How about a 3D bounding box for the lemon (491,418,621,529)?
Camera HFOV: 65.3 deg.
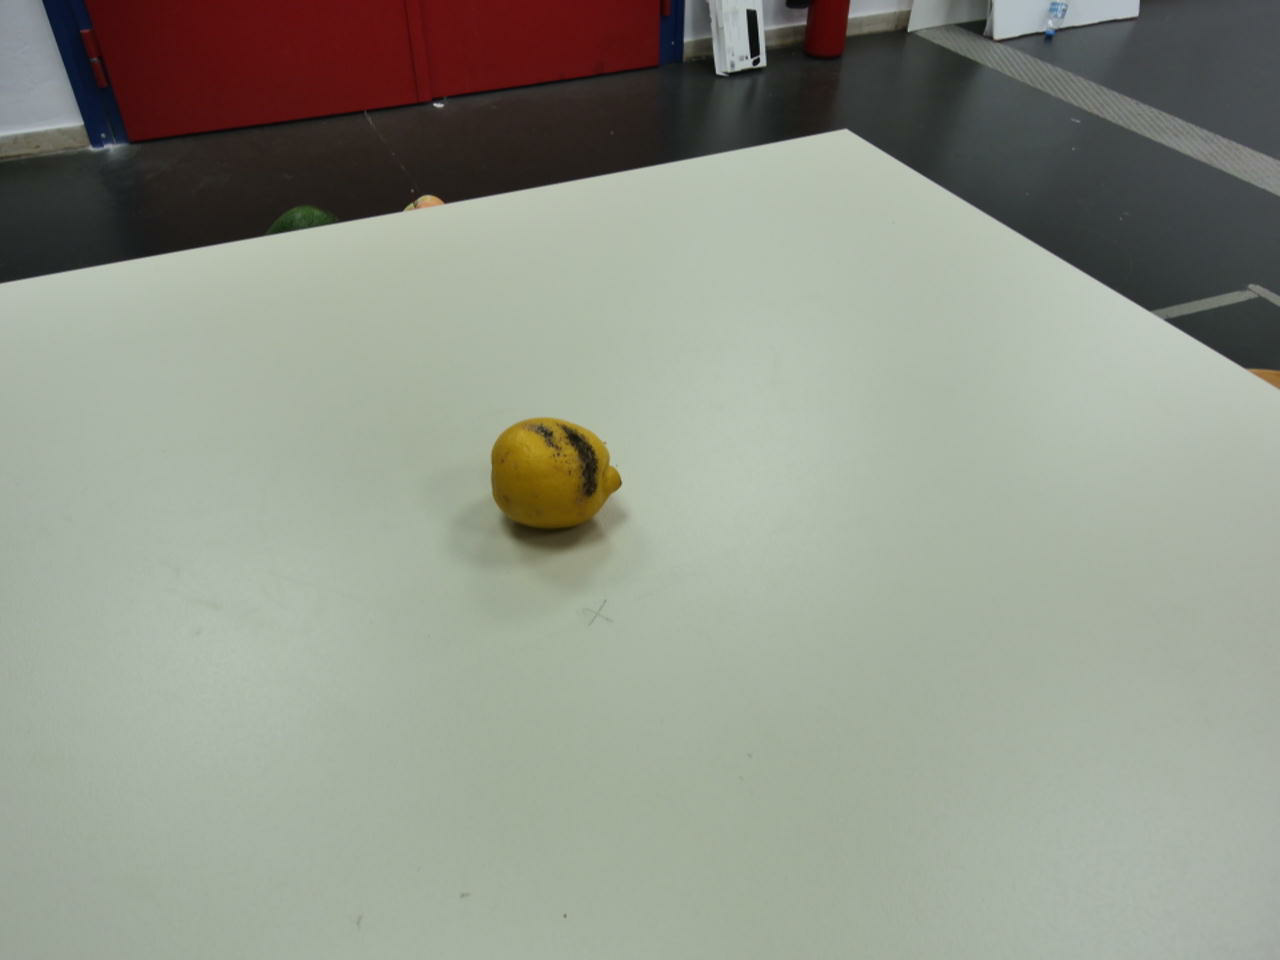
[{"bbox_3d":[-0.046,-0.004,0.505,0.061,0.056,0.058,-22,44,-26],"label":"lemon"}]
